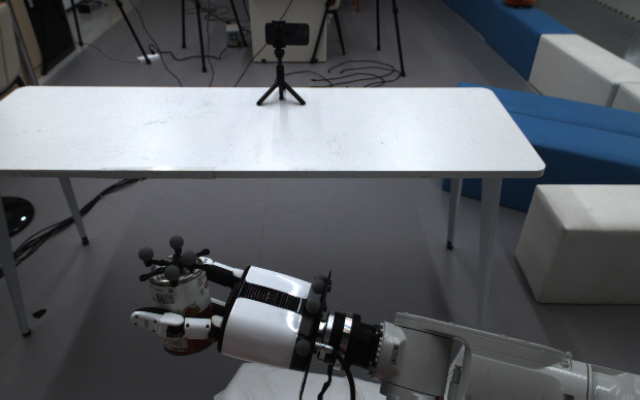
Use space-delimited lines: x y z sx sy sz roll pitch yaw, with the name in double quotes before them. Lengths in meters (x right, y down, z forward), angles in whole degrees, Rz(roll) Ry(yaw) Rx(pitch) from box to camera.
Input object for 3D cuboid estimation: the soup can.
"soup can" -0.165 0.130 0.593 0.067 0.101 0.067 -4 21 2
